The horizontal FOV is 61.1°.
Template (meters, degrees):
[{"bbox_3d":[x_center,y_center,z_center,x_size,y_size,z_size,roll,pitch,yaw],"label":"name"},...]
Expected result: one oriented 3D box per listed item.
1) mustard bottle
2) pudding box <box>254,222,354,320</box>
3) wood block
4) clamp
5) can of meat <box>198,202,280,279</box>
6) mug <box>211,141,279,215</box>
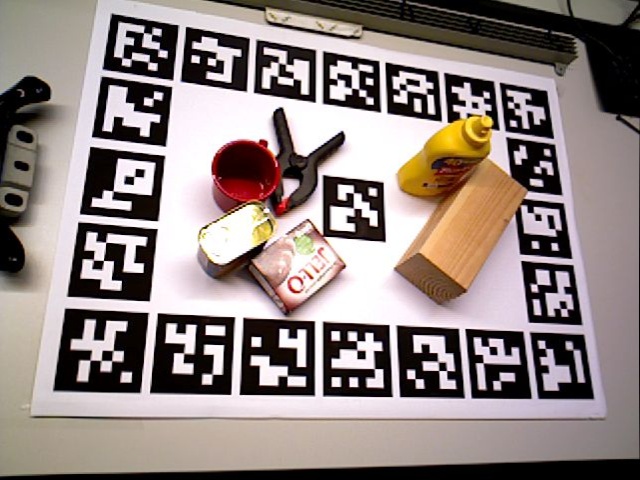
[{"bbox_3d":[0.198,-0.128,0.780,0.095,0.195,0.058,0,73,-16],"label":"mustard bottle"},{"bbox_3d":[-0.022,0.041,0.752,0.112,0.039,0.090,-37,87,-24],"label":"pudding box"},{"bbox_3d":[0.223,-0.008,0.812,0.090,0.093,0.202,39,65,1],"label":"wood block"},{"bbox_3d":[-0.029,-0.118,0.804,0.121,0.037,0.163,23,71,-10],"label":"clamp"},{"bbox_3d":[-0.108,0.004,0.708,0.100,0.085,0.058,-27,83,-22],"label":"can of meat"},{"bbox_3d":[-0.106,-0.089,0.768,0.093,0.083,0.115,26,69,-7],"label":"mug"}]
